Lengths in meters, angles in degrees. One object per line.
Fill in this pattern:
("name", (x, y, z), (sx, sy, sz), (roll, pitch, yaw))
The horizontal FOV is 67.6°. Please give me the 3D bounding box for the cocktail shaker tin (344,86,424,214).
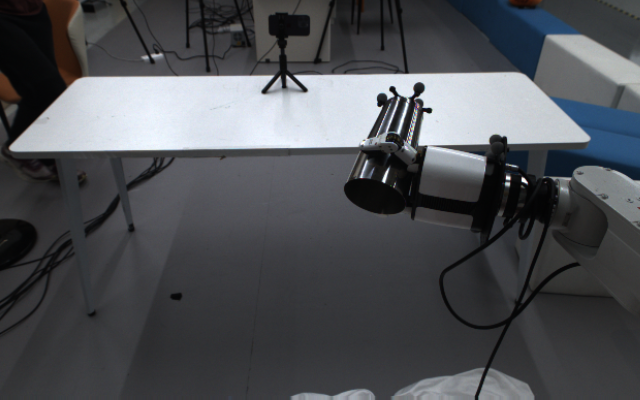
("cocktail shaker tin", (0.104, -0.074, 0.731), (0.093, 0.093, 0.170), (13, 60, 16))
